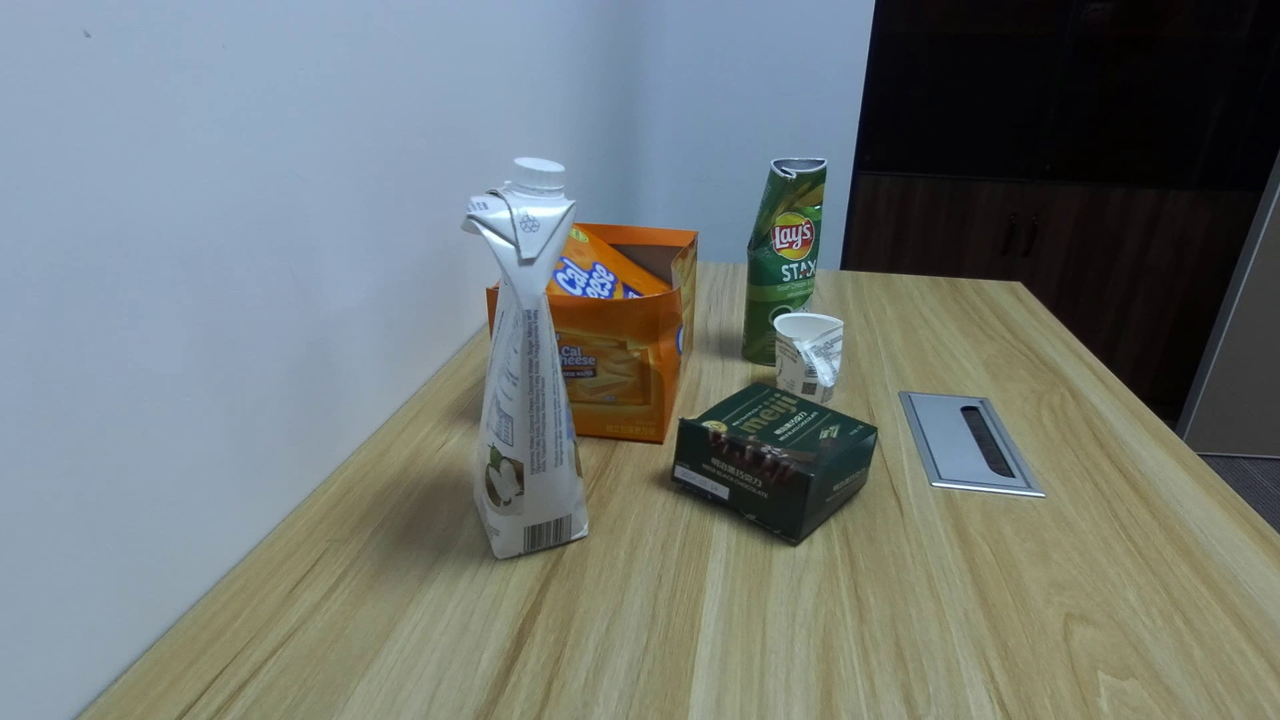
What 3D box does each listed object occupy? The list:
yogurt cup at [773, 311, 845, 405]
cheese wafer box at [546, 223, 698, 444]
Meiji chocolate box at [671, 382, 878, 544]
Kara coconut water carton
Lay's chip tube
[{"bbox_3d":[0.151,0.000,0.647,0.067,0.070,0.067,-1,25,1],"label":"yogurt cup"},{"bbox_3d":[-0.028,-0.033,0.653,0.152,0.132,0.230,6,23,8],"label":"cheese wafer box"},{"bbox_3d":[0.100,0.069,0.518,0.122,0.058,0.116,21,27,35],"label":"Meiji chocolate box"},{"bbox_3d":[-0.070,0.002,0.435,0.069,0.238,0.114,-7,25,-20],"label":"Kara coconut water carton"},{"bbox_3d":[0.144,-0.097,0.706,0.069,0.201,0.077,6,28,10],"label":"Lay's chip tube"}]
